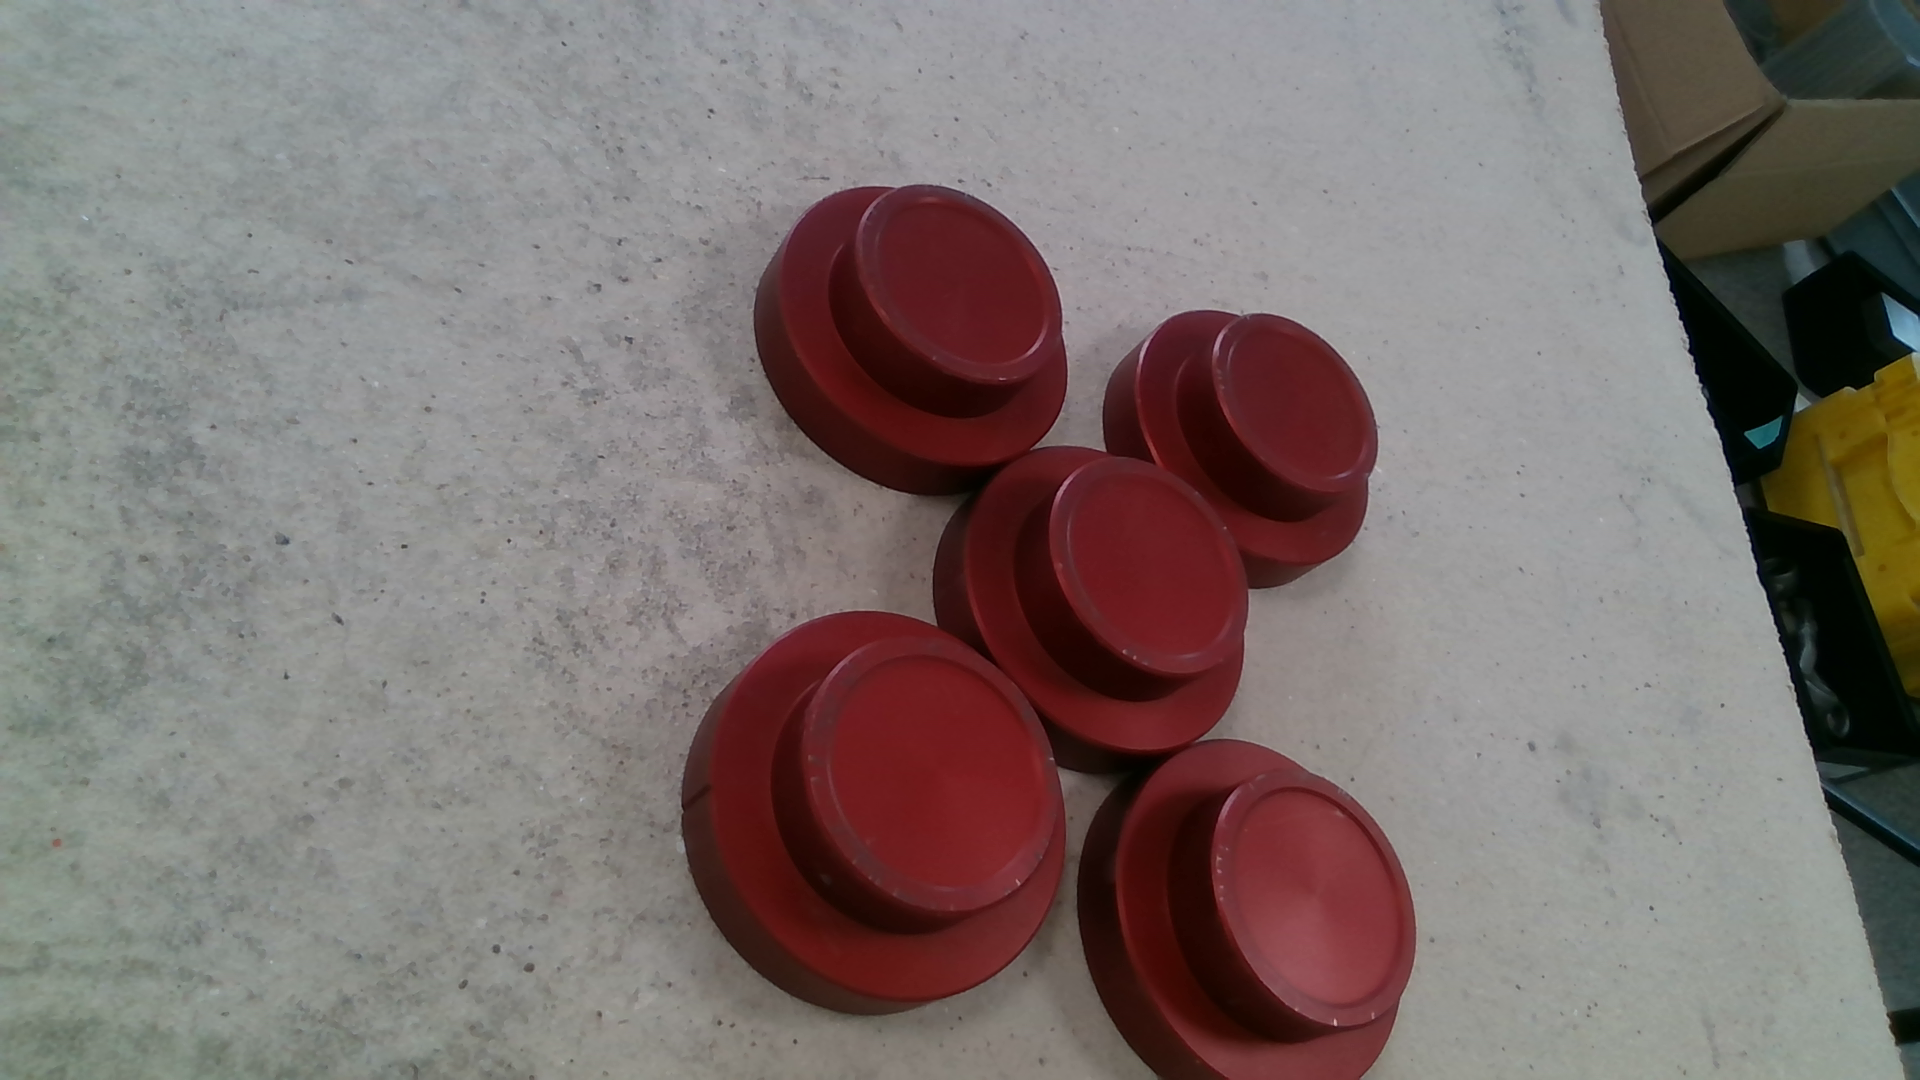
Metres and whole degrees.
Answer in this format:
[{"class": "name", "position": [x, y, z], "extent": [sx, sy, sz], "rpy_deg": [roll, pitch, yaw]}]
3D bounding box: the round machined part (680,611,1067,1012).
[{"class": "round machined part", "position": [-0.015, 0.062, 0.340], "extent": [0.098, 0.042, 0.098], "rpy_deg": [14, 58, -23]}]

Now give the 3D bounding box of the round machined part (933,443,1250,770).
[{"class": "round machined part", "position": [0.045, 0.014, 0.403], "extent": [0.098, 0.042, 0.098], "rpy_deg": [14, 58, -23]}]

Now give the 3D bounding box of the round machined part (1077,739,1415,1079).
[{"class": "round machined part", "position": [0.085, 0.101, 0.380], "extent": [0.098, 0.042, 0.098], "rpy_deg": [14, 58, -23]}]

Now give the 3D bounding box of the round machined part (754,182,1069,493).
[{"class": "round machined part", "position": [-0.009, -0.067, 0.412], "extent": [0.098, 0.042, 0.098], "rpy_deg": [14, 59, -24]}]

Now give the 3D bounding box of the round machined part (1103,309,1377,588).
[{"class": "round machined part", "position": [0.100, -0.037, 0.464], "extent": [0.098, 0.042, 0.098], "rpy_deg": [14, 59, -25]}]
